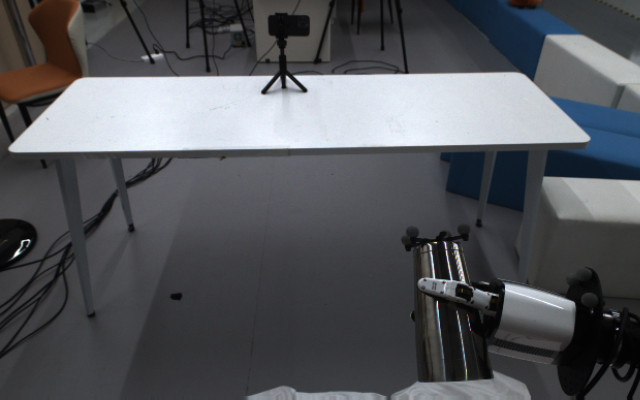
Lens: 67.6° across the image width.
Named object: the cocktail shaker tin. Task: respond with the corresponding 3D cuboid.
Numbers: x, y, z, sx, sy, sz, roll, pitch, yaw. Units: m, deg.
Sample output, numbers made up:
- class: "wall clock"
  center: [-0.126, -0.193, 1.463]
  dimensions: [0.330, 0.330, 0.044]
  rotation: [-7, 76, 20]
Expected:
- class: "cocktail shaker tin"
  center: [0.164, 0.144, 0.630]
  dimensions: [0.093, 0.093, 0.170]
  rotation: [-2, 70, -5]
